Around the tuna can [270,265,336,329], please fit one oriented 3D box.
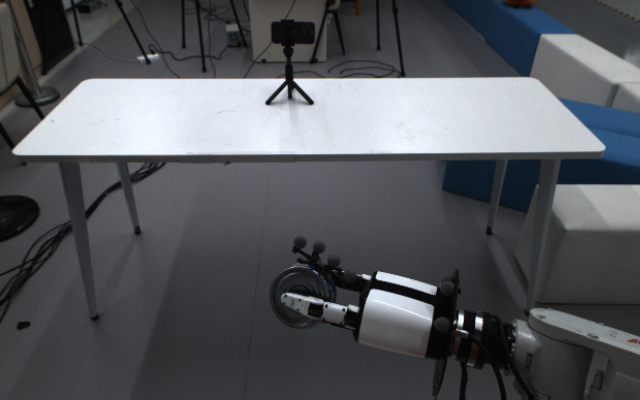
[{"bbox_3d":[-0.020,0.134,0.643,0.085,0.085,0.034,12,4,15],"label":"tuna can"}]
